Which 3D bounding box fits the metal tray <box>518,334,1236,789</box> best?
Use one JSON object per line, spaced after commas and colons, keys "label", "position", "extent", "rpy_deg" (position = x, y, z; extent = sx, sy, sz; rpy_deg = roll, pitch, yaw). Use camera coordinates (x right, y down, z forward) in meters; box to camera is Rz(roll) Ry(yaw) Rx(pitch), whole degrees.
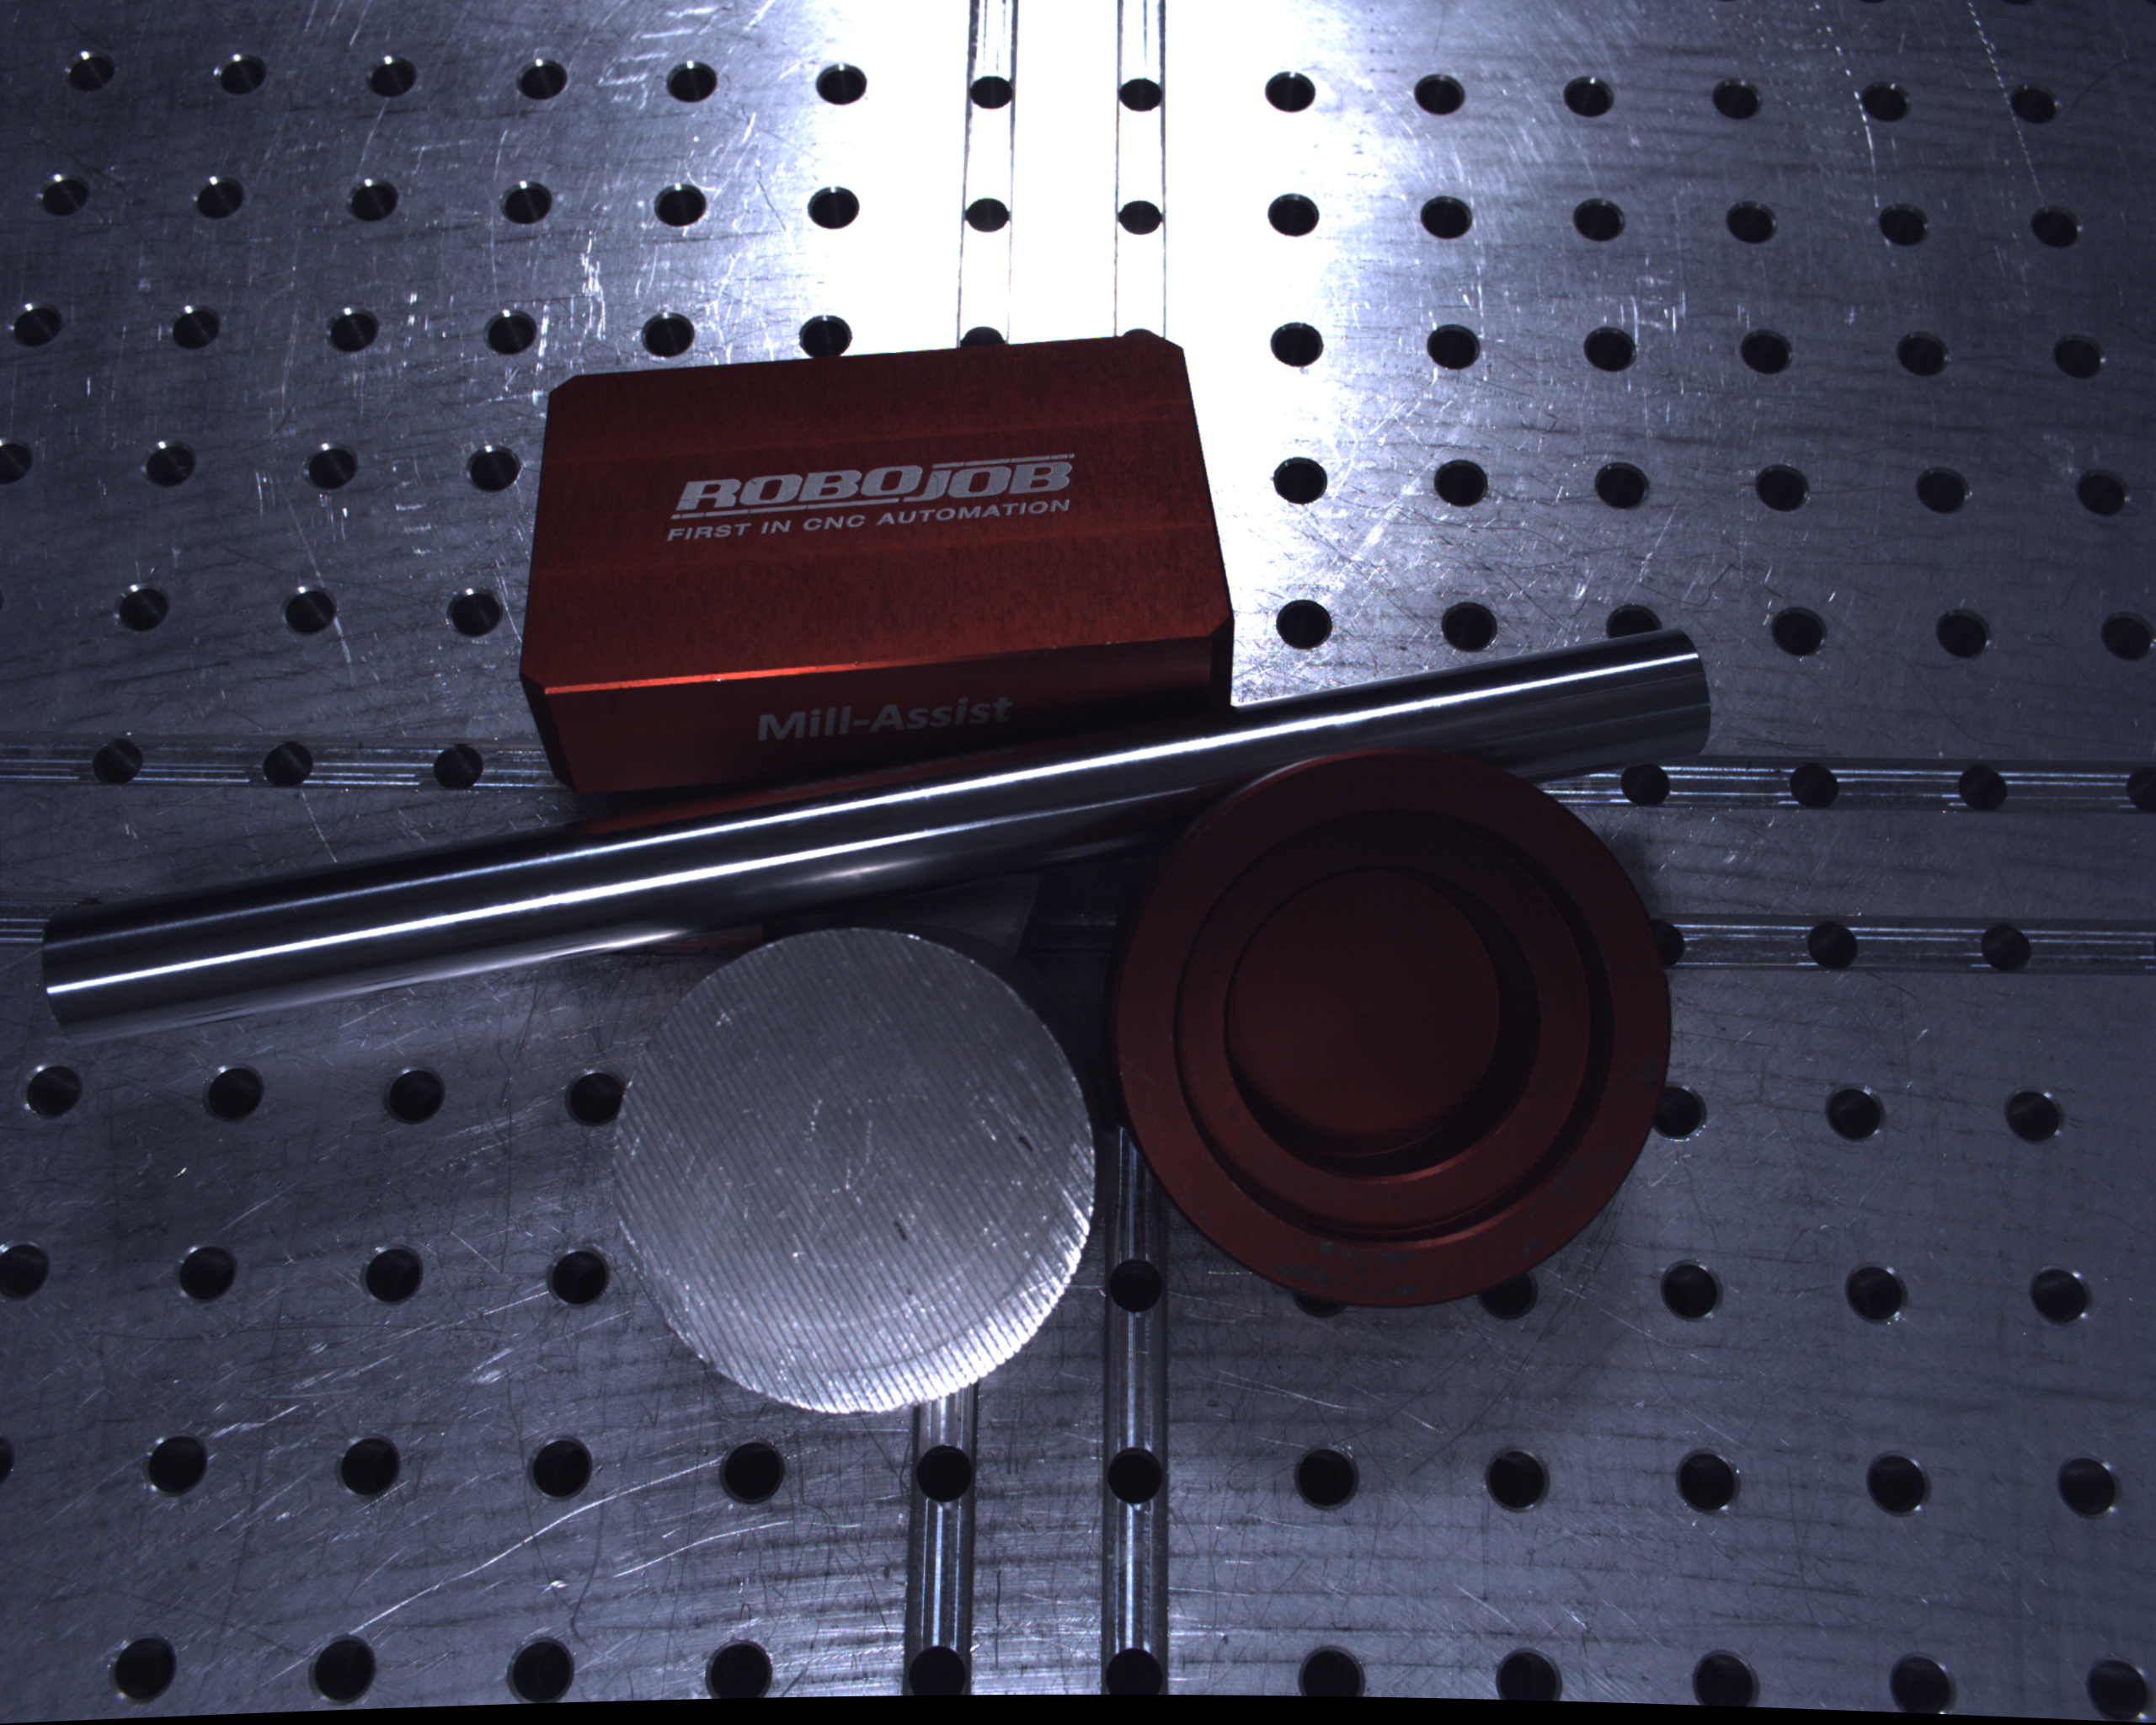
{"label": "metal tray", "position": [-0.039, -0.062, 0.416], "extent": [0.131, 0.030, 0.090], "rpy_deg": [-4, 51, -3]}

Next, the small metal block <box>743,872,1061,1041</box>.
{"label": "small metal block", "position": [-0.035, 0.013, 0.415], "extent": [0.050, 0.025, 0.050], "rpy_deg": [17, 71, 5]}

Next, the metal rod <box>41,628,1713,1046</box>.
{"label": "metal rod", "position": [-0.032, -0.006, 0.386], "extent": [0.302, 0.025, 0.025], "rpy_deg": [-10, 71, -4]}

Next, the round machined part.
{"label": "round machined part", "position": [0.054, 0.028, 0.381], "extent": [0.099, 0.042, 0.097], "rpy_deg": [0, 92, -4]}

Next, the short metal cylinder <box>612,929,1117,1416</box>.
{"label": "short metal cylinder", "position": [-0.035, 0.051, 0.367], "extent": [0.080, 0.050, 0.079], "rpy_deg": [0, 88, 5]}
